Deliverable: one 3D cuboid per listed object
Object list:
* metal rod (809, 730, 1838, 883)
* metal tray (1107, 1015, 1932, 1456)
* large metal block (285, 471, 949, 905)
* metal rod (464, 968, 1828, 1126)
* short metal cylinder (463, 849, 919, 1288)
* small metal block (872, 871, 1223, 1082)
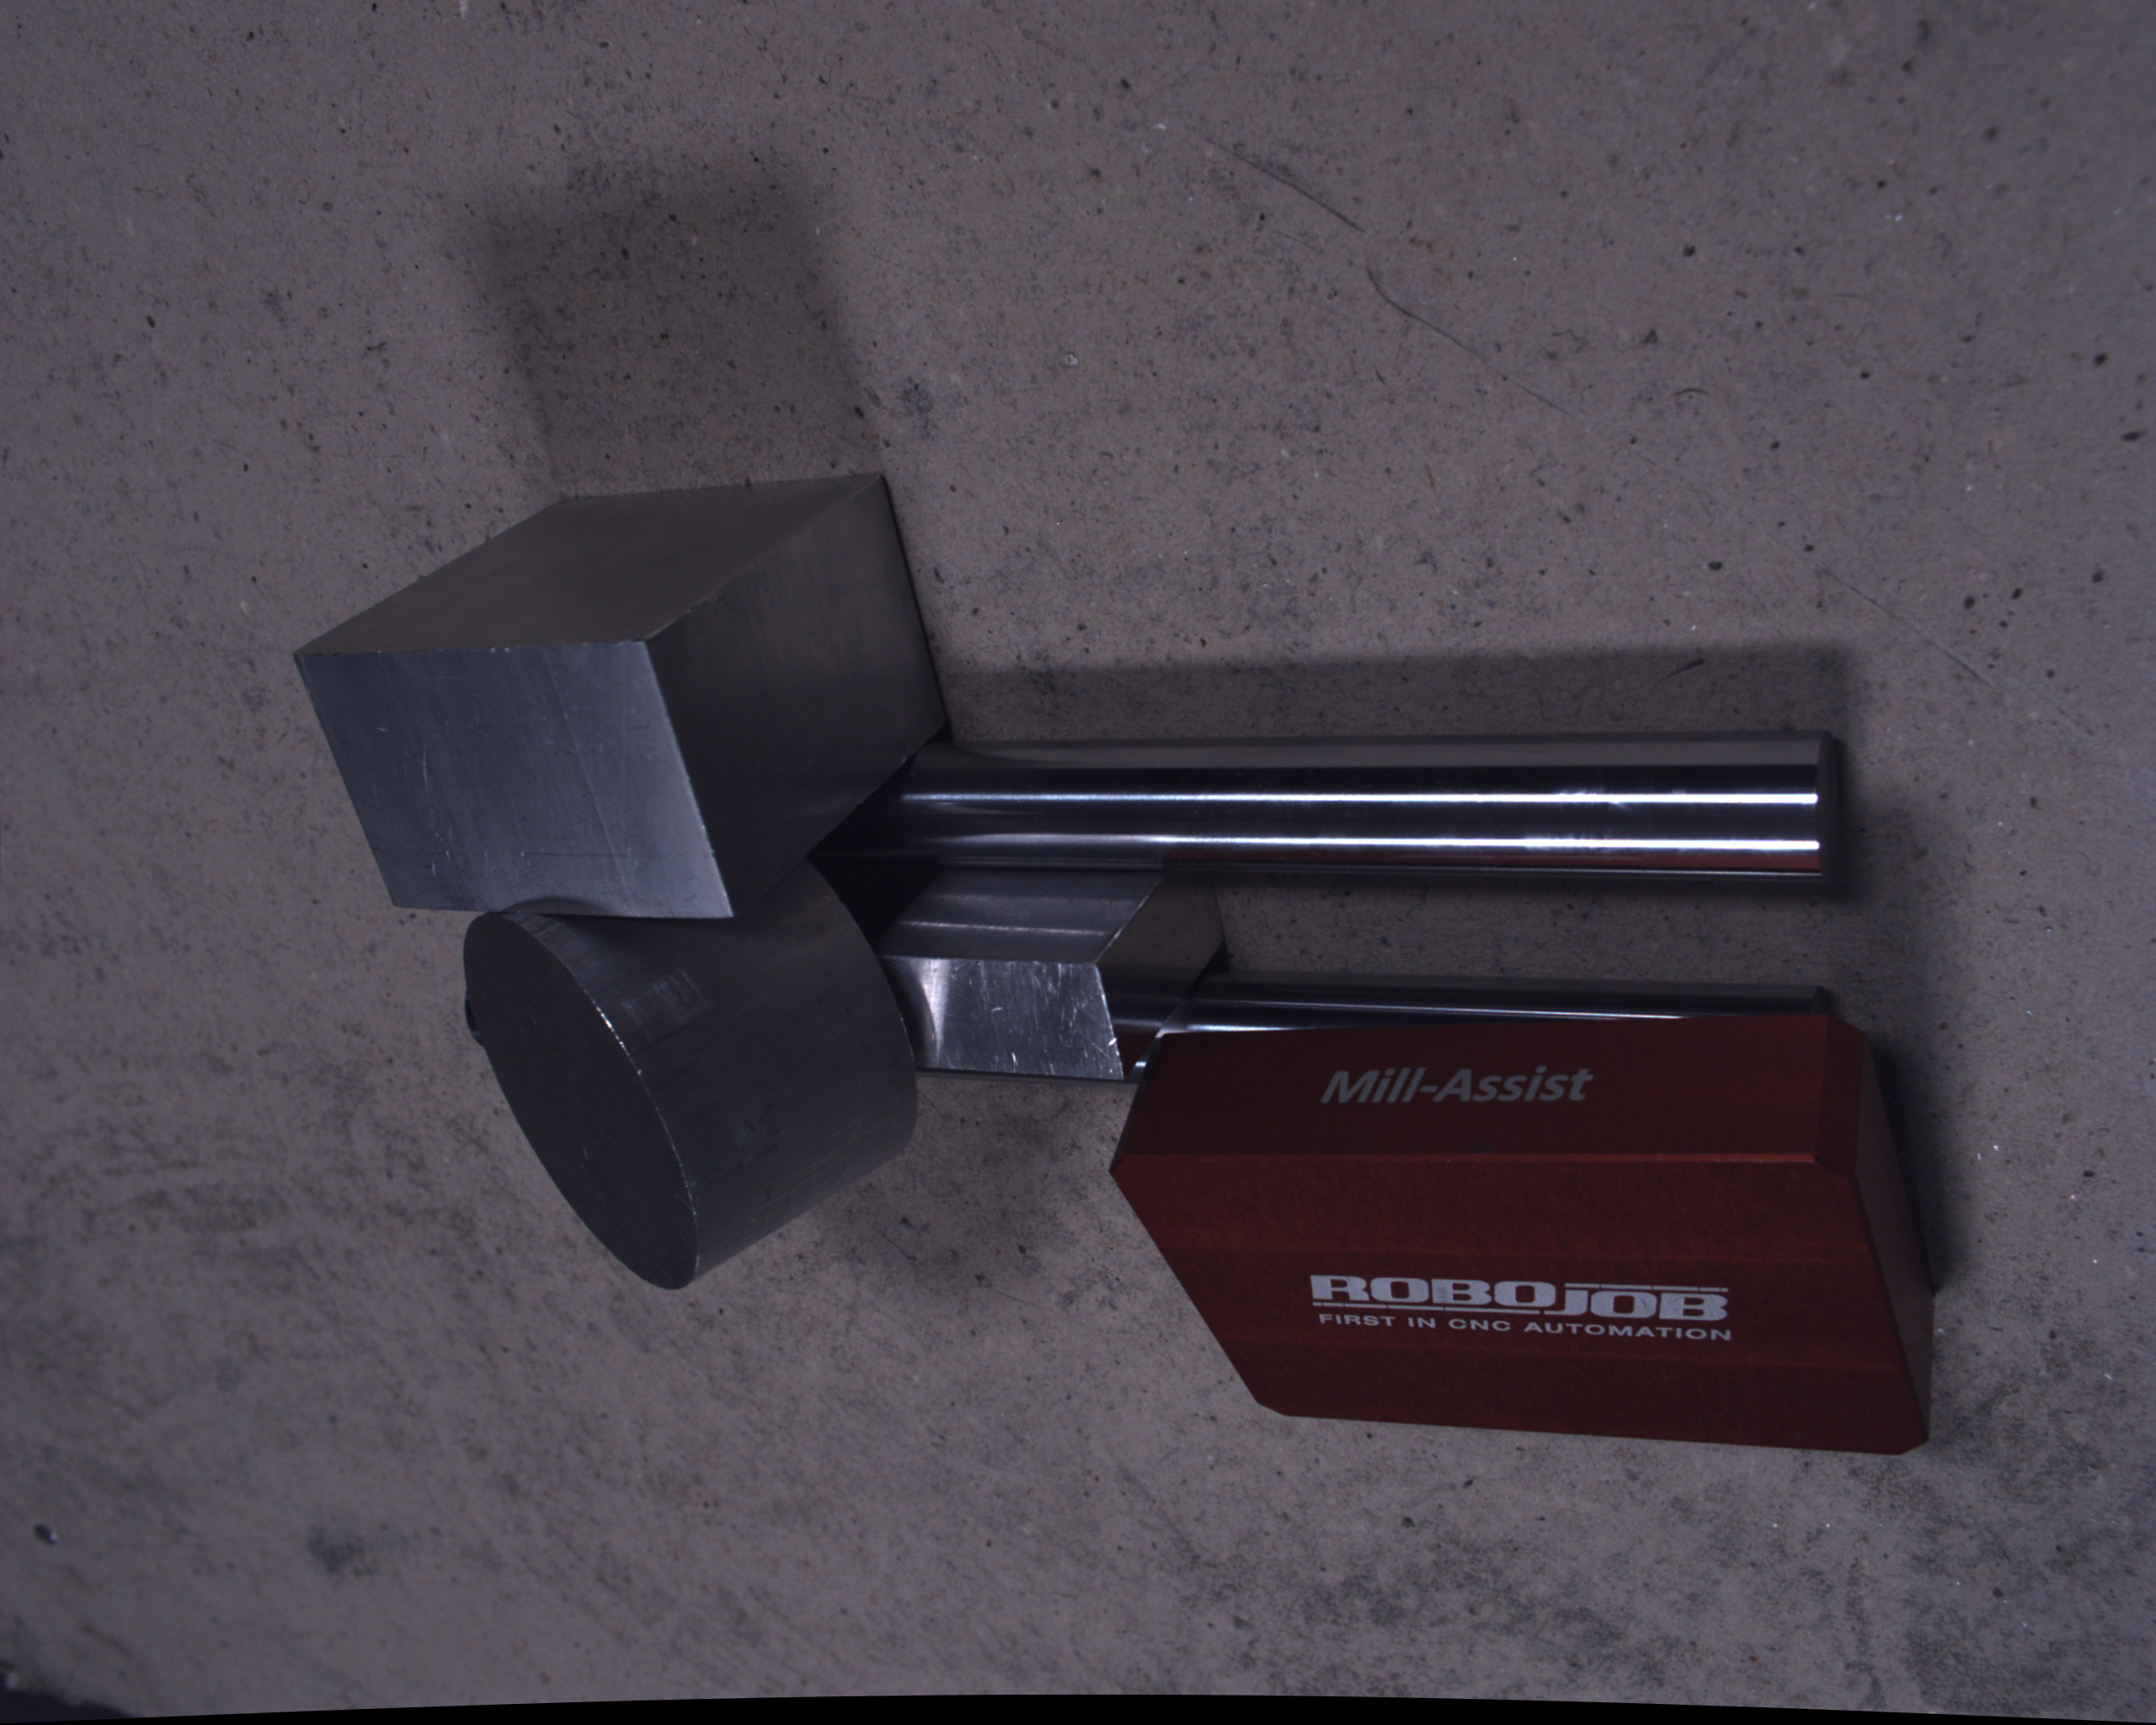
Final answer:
[{"bbox_3d":[-0.012,-0.011,0.407,0.301,0.025,0.025,1,119,27],"label":"metal rod"},{"bbox_3d":[0.082,0.070,0.386,0.130,0.030,0.090,-4,134,28],"label":"metal tray"},{"bbox_3d":[-0.083,-0.034,0.394,0.080,0.080,0.050,1,119,27],"label":"large metal block"},{"bbox_3d":[-0.005,0.033,0.430,0.300,0.025,0.025,0,119,27],"label":"metal rod"},{"bbox_3d":[-0.076,0.035,0.406,0.080,0.050,0.079,34,139,36],"label":"short metal cylinder"},{"bbox_3d":[-0.006,0.017,0.404,0.050,0.050,0.025,1,119,27],"label":"small metal block"}]
